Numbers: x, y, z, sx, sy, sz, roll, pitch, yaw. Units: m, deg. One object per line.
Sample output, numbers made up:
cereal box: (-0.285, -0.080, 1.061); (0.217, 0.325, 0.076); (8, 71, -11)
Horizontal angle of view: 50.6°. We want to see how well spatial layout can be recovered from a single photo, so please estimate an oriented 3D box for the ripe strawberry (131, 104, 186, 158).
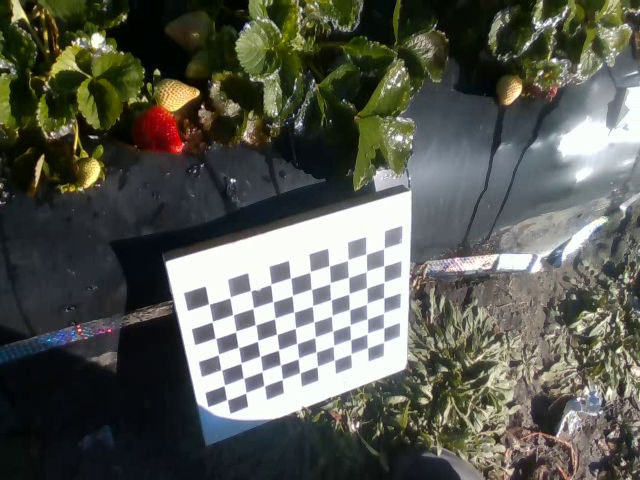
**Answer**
ripe strawberry: (-0.129, -0.086, 0.550); (0.053, 0.040, 0.042); (41, -1, 24)
